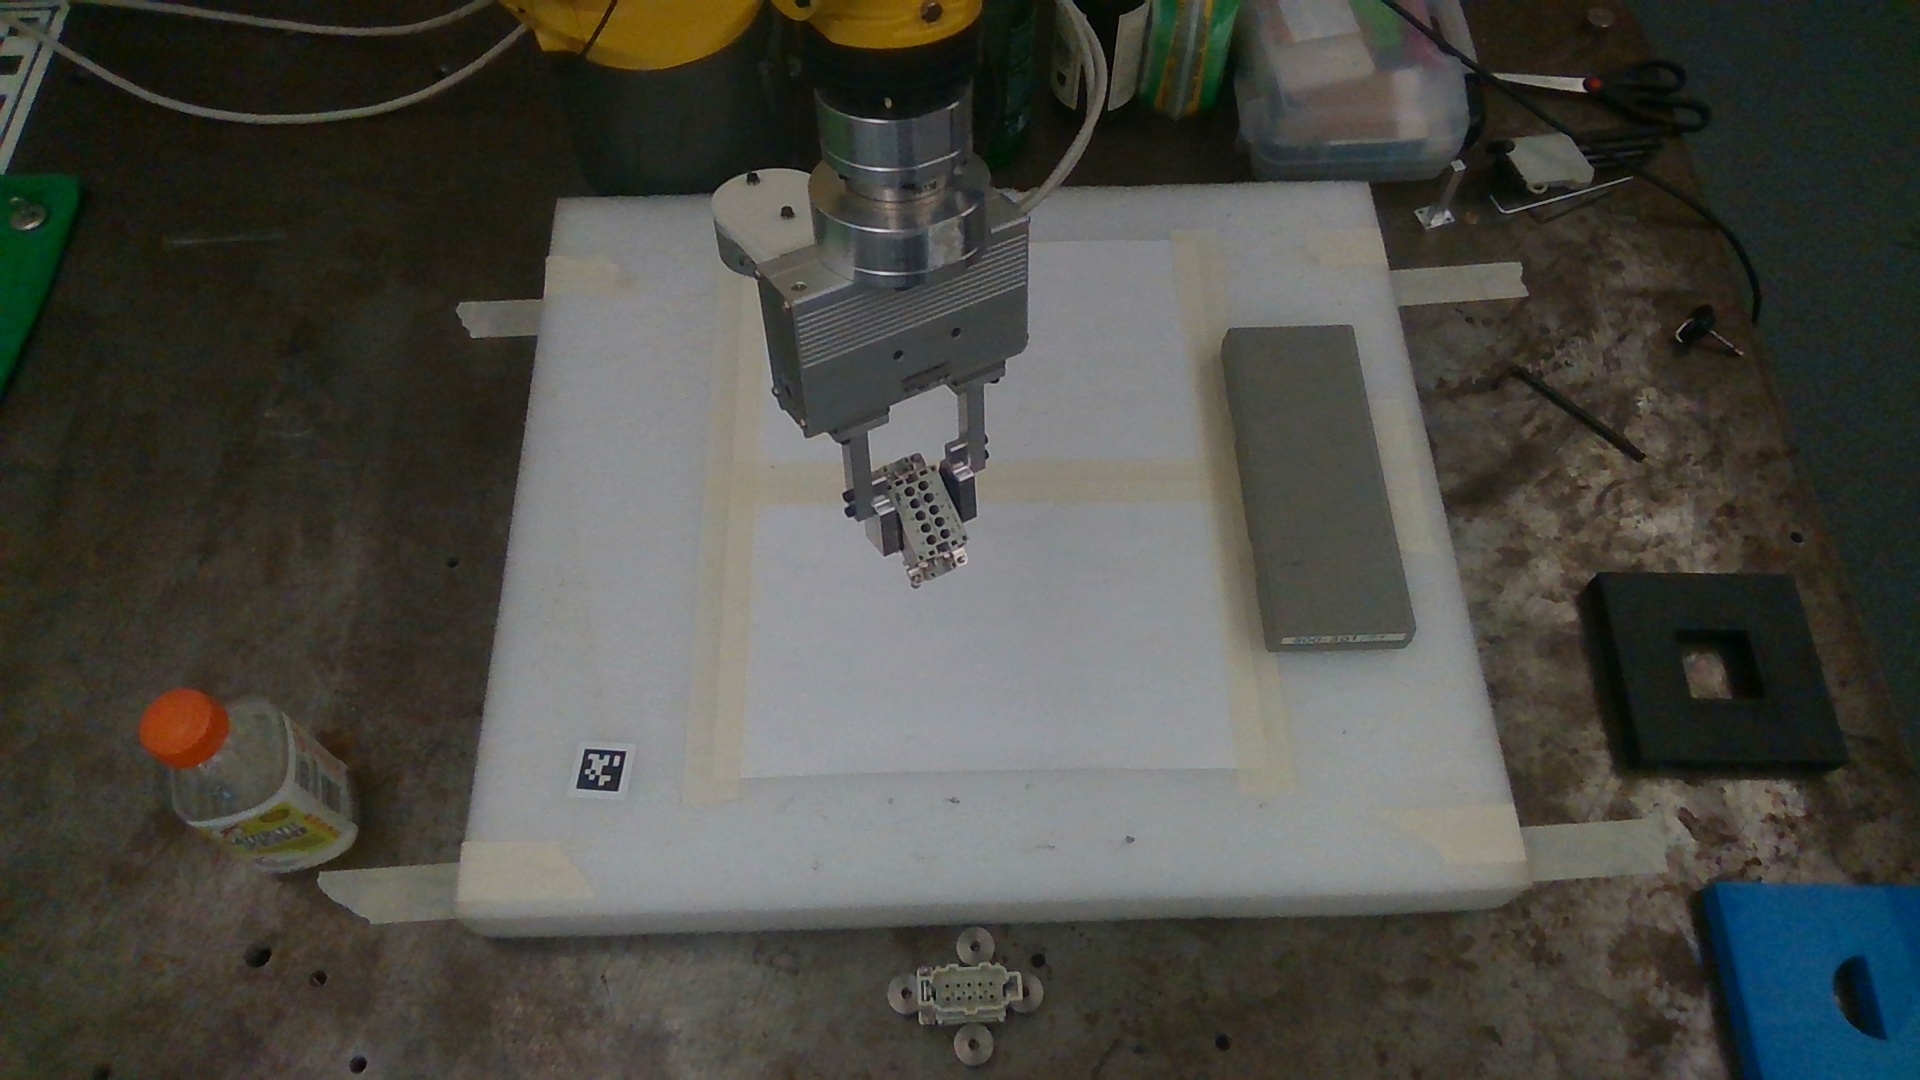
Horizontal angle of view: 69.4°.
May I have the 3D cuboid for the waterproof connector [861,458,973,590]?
[{"bbox_3d":[-0.023,-0.010,0.745,0.036,0.039,0.069,-24,79,-26],"label":"waterproof connector"}]
